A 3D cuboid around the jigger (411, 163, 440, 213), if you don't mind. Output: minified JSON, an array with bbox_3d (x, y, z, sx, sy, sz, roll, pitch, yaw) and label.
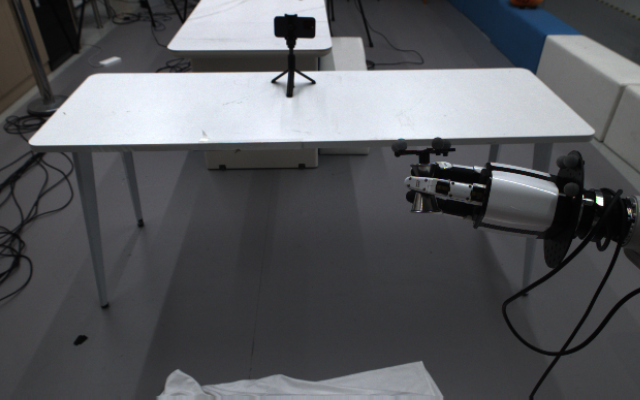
[{"bbox_3d":[0.148,-0.018,0.687,0.043,0.071,0.043,-2,3,0],"label":"jigger"}]
